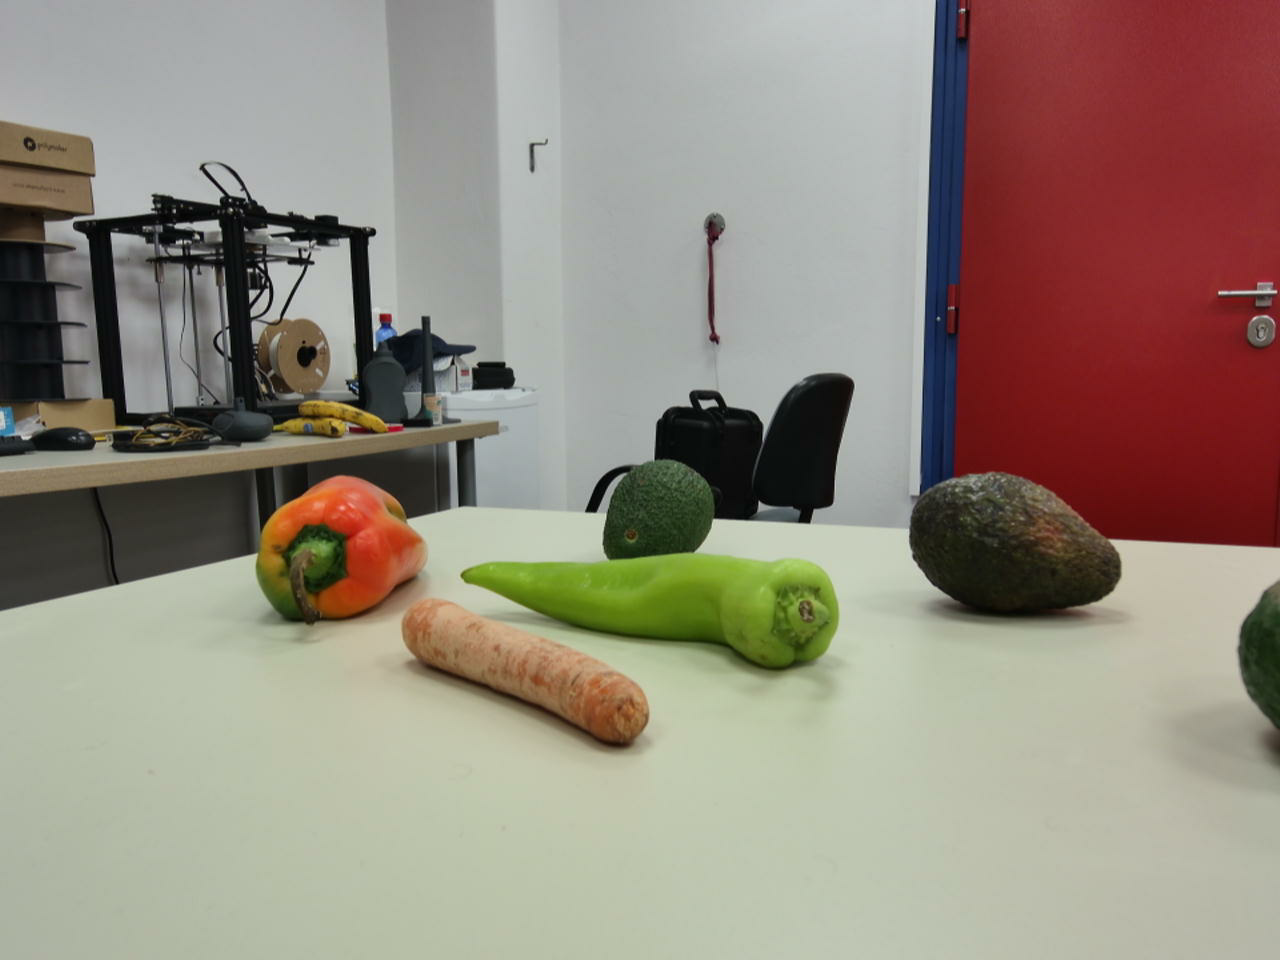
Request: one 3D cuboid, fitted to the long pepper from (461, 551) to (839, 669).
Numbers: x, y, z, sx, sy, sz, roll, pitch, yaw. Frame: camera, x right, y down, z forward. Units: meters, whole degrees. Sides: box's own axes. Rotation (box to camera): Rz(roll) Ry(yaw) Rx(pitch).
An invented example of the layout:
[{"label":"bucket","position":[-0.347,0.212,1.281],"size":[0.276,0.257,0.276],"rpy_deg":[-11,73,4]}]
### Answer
[{"label":"long pepper","position":[0.008,0.052,0.462],"size":[0.205,0.045,0.065],"rpy_deg":[3,5,41]}]
